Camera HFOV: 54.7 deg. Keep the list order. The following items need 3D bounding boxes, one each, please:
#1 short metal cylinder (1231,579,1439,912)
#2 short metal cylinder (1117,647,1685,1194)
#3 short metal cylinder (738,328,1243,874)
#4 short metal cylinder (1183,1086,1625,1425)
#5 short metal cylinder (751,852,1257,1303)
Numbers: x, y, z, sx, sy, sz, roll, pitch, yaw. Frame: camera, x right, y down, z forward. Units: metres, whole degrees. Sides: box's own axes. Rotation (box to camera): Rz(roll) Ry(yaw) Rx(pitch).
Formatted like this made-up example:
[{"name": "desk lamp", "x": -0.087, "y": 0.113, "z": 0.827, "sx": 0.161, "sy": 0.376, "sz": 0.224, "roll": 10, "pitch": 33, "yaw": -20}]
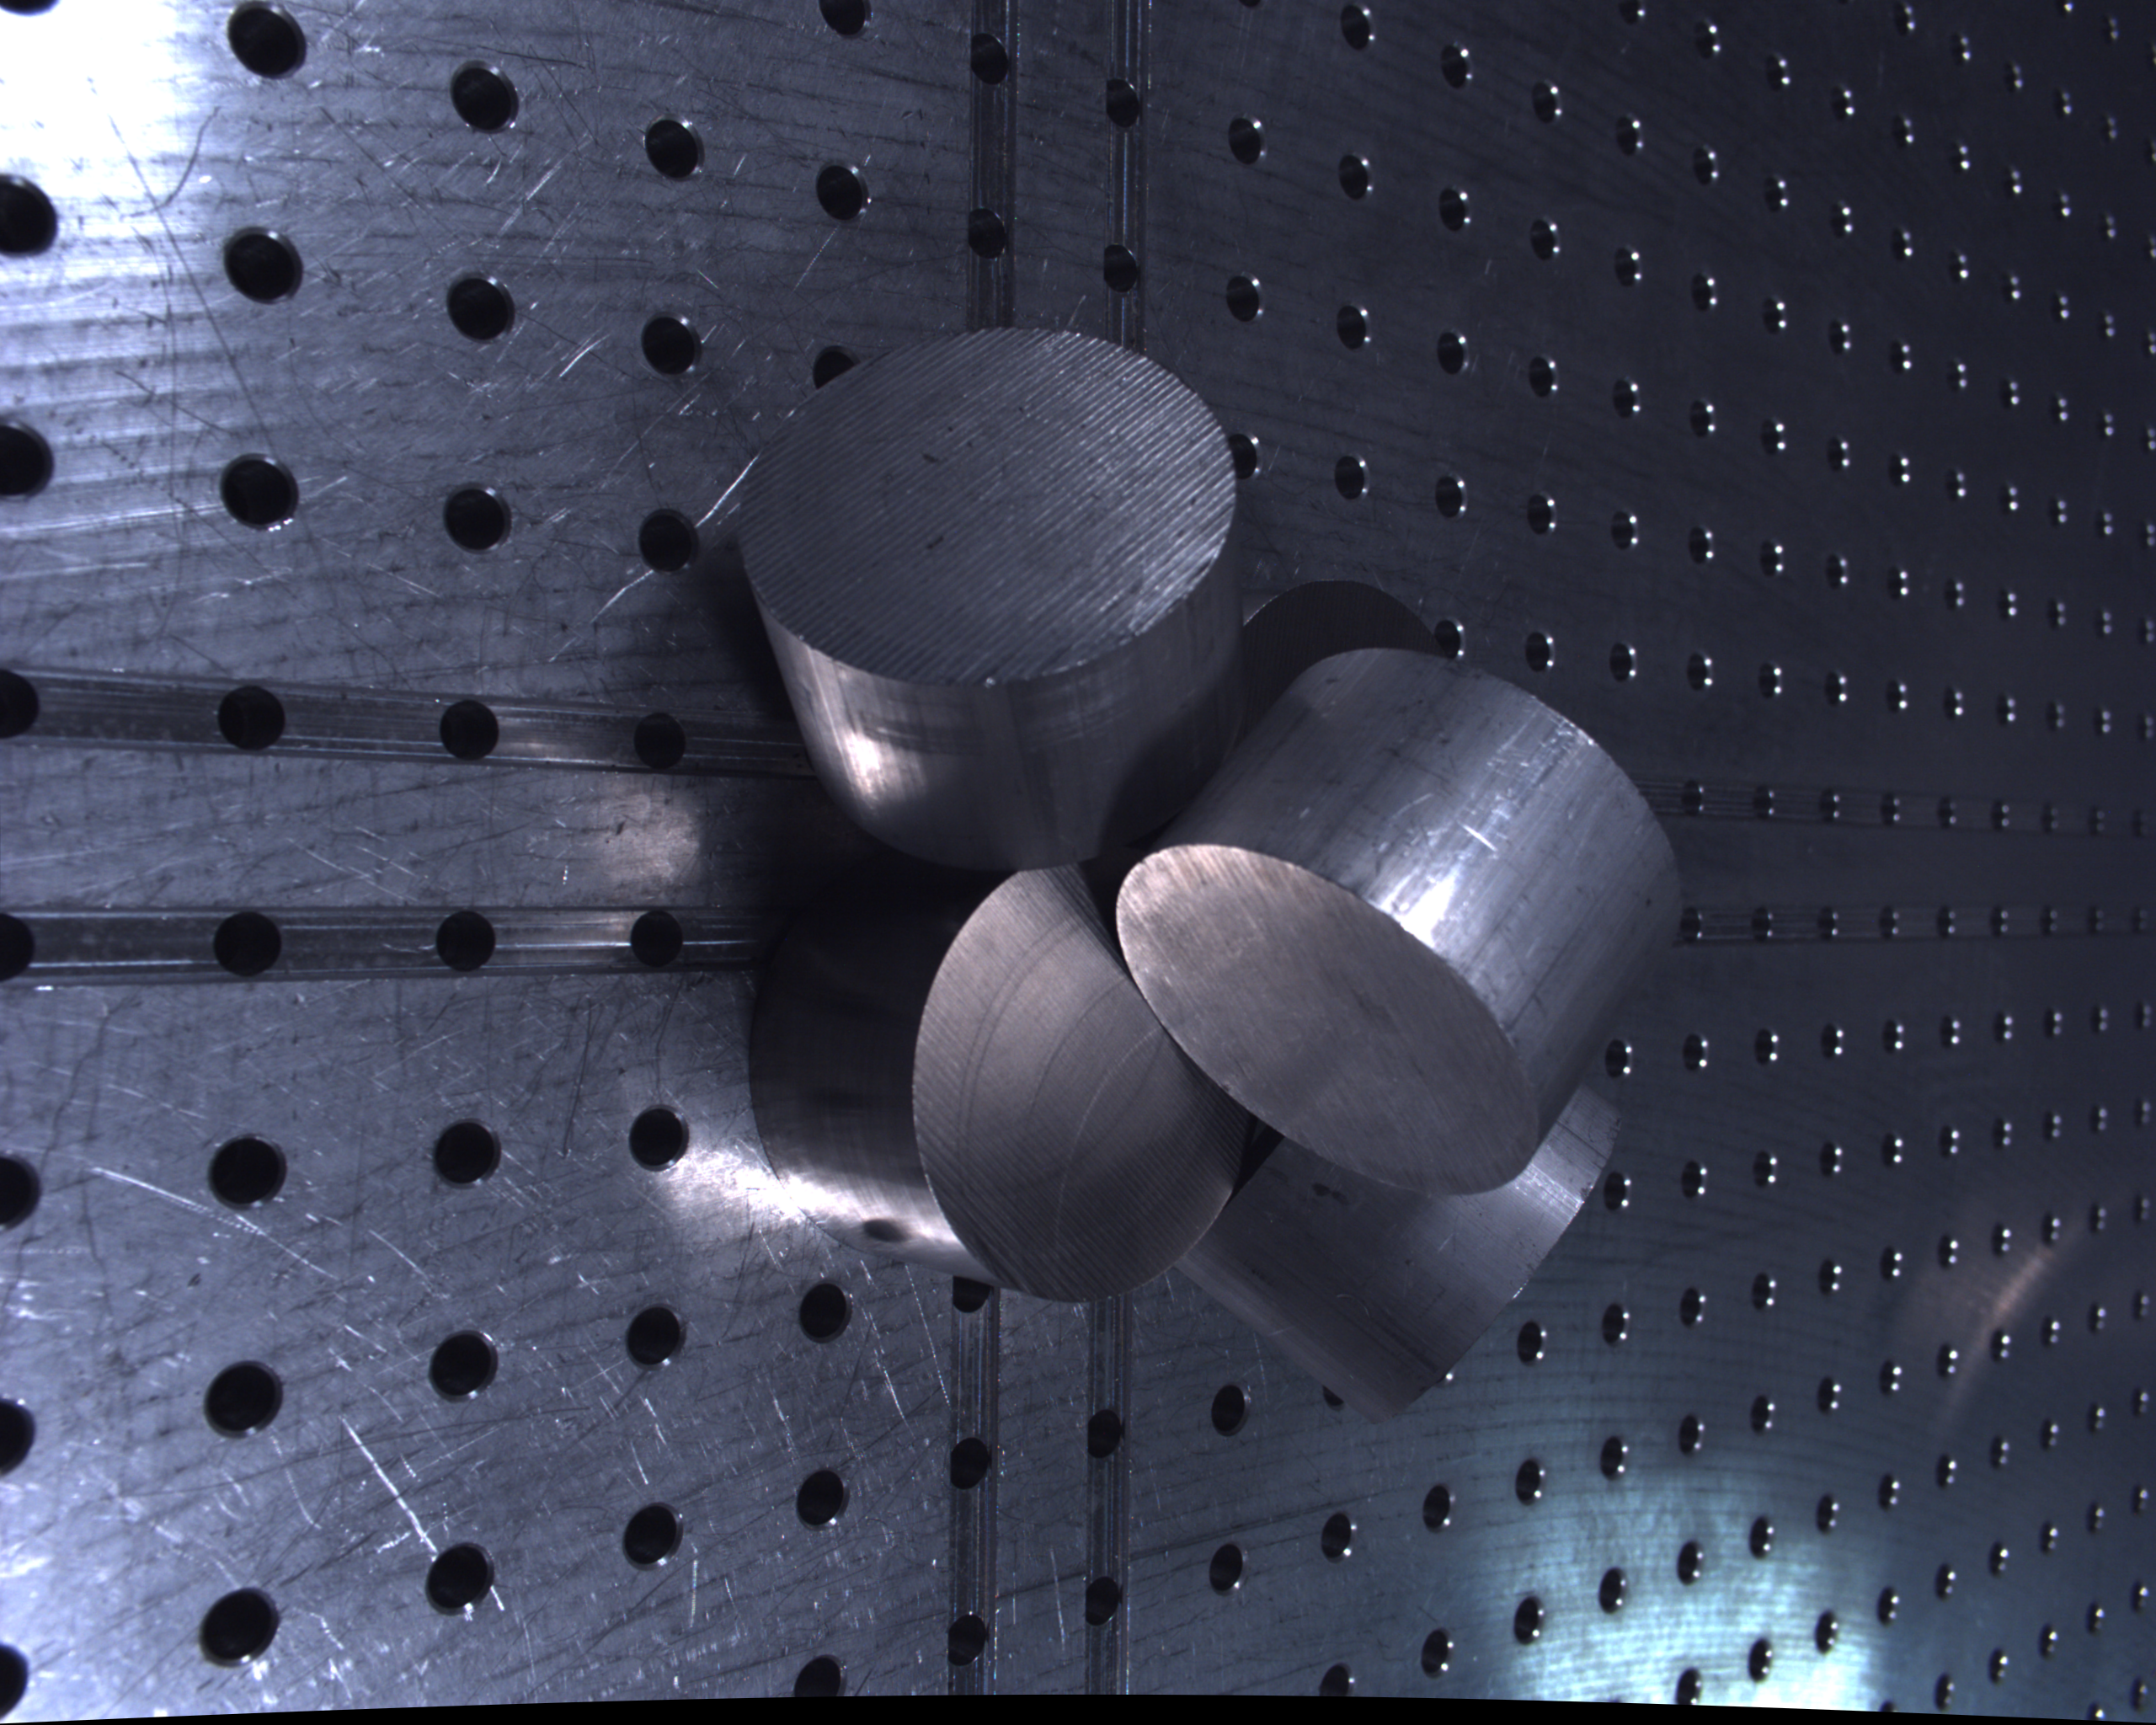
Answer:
[{"name": "short metal cylinder", "x": 0.036, "y": -0.015, "z": 0.424, "sx": 0.081, "sy": 0.050, "sz": 0.079, "roll": 0, "pitch": 90, "yaw": -40}, {"name": "short metal cylinder", "x": 0.054, "y": 0.010, "z": 0.354, "sx": 0.050, "sy": 0.080, "sz": 0.080, "roll": -49, "pitch": 120, "yaw": -29}, {"name": "short metal cylinder", "x": -0.012, "y": -0.045, "z": 0.355, "sx": 0.080, "sy": 0.080, "sz": 0.050, "roll": -54, "pitch": 156, "yaw": -27}, {"name": "short metal cylinder", "x": 0.064, "y": 0.065, "z": 0.420, "sx": 0.050, "sy": 0.080, "sz": 0.080, "roll": 39, "pitch": 61, "yaw": 6}, {"name": "short metal cylinder", "x": -0.012, "y": 0.037, "z": 0.384, "sx": 0.081, "sy": 0.050, "sz": 0.079, "roll": 0, "pitch": 90, "yaw": -40}]
